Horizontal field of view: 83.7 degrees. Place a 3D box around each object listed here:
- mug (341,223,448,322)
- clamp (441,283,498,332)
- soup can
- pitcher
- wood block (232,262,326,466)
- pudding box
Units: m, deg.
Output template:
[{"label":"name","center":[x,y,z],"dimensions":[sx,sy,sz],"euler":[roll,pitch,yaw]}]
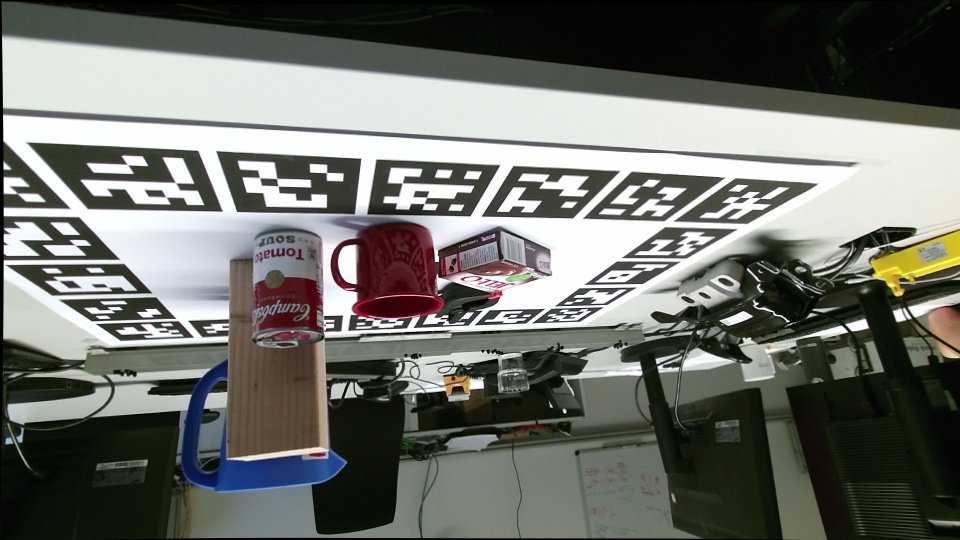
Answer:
[{"label":"mug","center":[-0.090,0.001,0.544],"dimensions":[0.093,0.081,0.117],"euler":[-19,158,34]},{"label":"clamp","center":[-0.036,0.049,0.776],"dimensions":[0.122,0.036,0.165],"euler":[21,145,-40]},{"label":"soup can","center":[-0.183,0.020,0.530],"dimensions":[0.068,0.101,0.068],"euler":[-8,157,-3]},{"label":"pitcher","center":[-0.272,0.162,0.682],"dimensions":[0.189,0.241,0.133],"euler":[-4,162,-18]},{"label":"wood block","center":[-0.218,0.102,0.586],"dimensions":[0.090,0.205,0.091],"euler":[1,158,-13]},{"label":"pudding box","center":[0.029,-0.006,0.637],"dimensions":[0.090,0.038,0.114],"euler":[-24,155,30]}]
